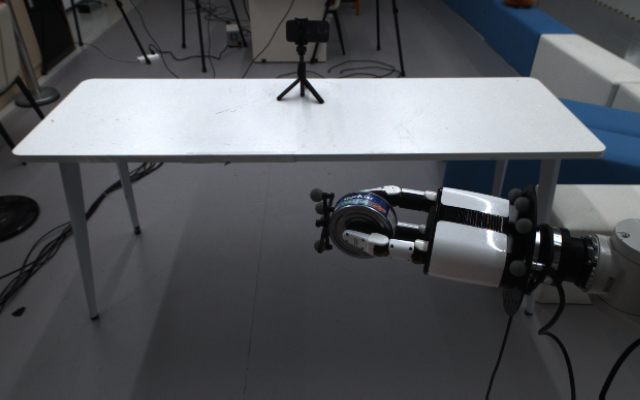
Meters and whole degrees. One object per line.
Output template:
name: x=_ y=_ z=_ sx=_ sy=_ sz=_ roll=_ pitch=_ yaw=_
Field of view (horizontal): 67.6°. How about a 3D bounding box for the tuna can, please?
tuna can: x=0.057 y=0.034 z=0.620 sx=0.085 sy=0.085 sz=0.034 roll=9 pitch=32 yaw=10
